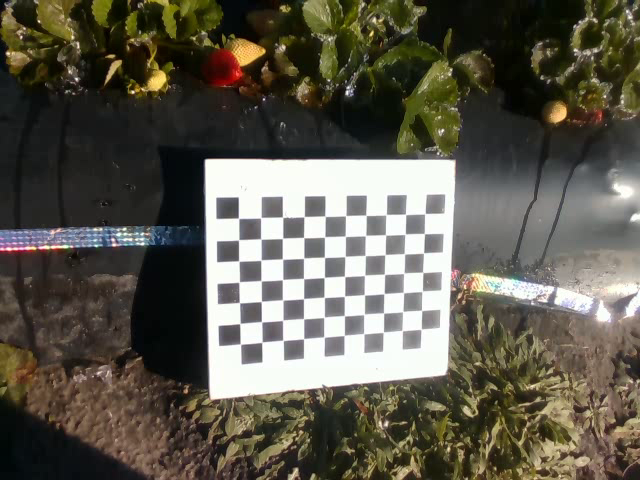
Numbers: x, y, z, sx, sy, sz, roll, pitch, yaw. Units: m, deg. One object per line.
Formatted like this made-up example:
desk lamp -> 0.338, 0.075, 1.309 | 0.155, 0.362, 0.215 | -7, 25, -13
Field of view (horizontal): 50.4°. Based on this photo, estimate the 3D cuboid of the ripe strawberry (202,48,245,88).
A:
ripe strawberry -> -0.100, -0.171, 0.654 | 0.040, 0.042, 0.053 | -40, 40, -15
